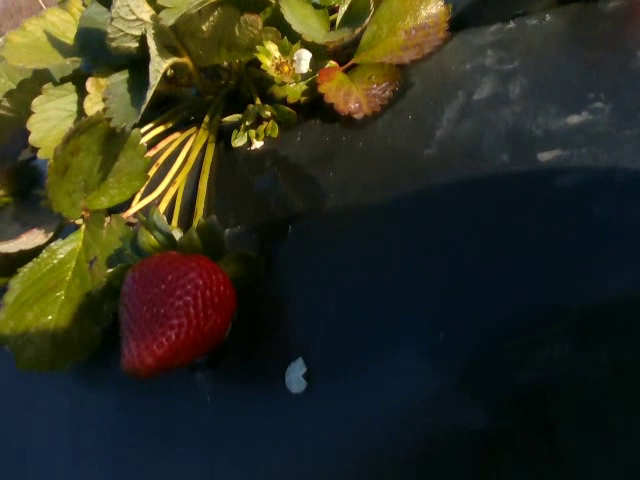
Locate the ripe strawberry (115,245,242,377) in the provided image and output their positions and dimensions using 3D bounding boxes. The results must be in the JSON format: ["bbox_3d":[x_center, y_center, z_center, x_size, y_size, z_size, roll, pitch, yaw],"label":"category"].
[{"bbox_3d":[-0.047,0.025,0.181,0.045,0.042,0.055,-9,24,12],"label":"ripe strawberry"}]
